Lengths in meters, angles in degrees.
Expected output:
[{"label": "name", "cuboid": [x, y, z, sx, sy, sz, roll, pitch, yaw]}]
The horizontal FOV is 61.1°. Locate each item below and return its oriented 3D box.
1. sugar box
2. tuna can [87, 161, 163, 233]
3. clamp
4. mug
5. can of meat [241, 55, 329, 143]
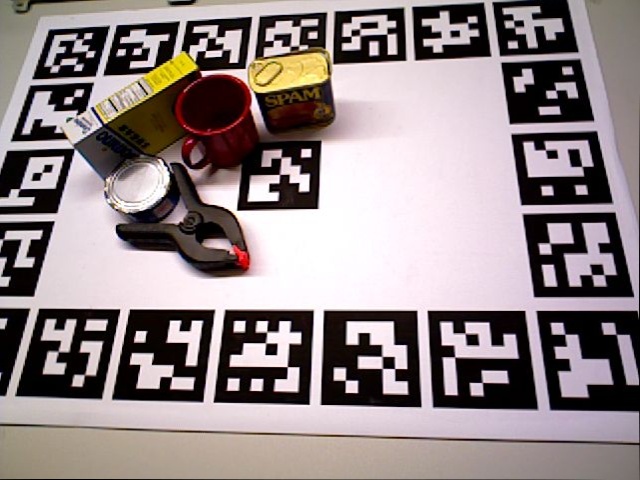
[{"label": "sugar box", "cuboid": [-0.233, -0.139, 0.675, 0.174, 0.094, 0.045, -35, 65, -11]}, {"label": "tuna can", "cuboid": [-0.237, -0.050, 0.661, 0.085, 0.034, 0.085, -3, 67, 6]}, {"label": "clamp", "cuboid": [-0.161, 0.001, 0.635, 0.165, 0.037, 0.120, 34, 69, 15]}, {"label": "mug", "cuboid": [-0.141, -0.128, 0.655, 0.093, 0.082, 0.116, 23, 72, 15]}, {"label": "can of meat", "cuboid": [-0.040, -0.171, 0.671, 0.101, 0.085, 0.057, -8, 63, 1]}]
